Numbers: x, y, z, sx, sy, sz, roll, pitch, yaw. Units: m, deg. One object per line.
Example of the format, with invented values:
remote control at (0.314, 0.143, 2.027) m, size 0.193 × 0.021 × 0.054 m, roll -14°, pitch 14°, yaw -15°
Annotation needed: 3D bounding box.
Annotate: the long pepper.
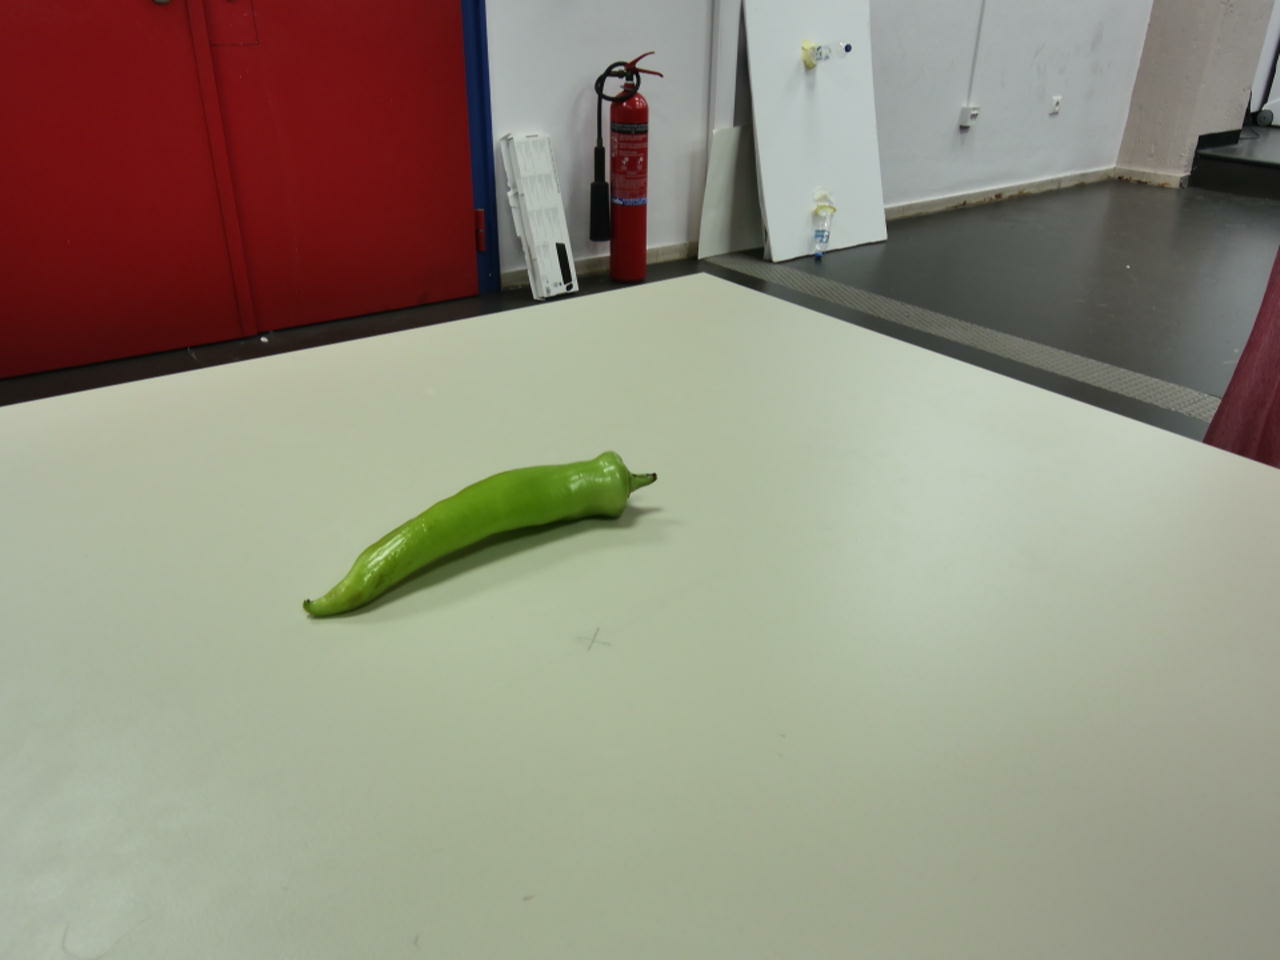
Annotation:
long pepper at (-0.080, 0.019, 0.510) m, size 0.197 × 0.038 × 0.047 m, roll -16°, pitch 30°, yaw -32°
